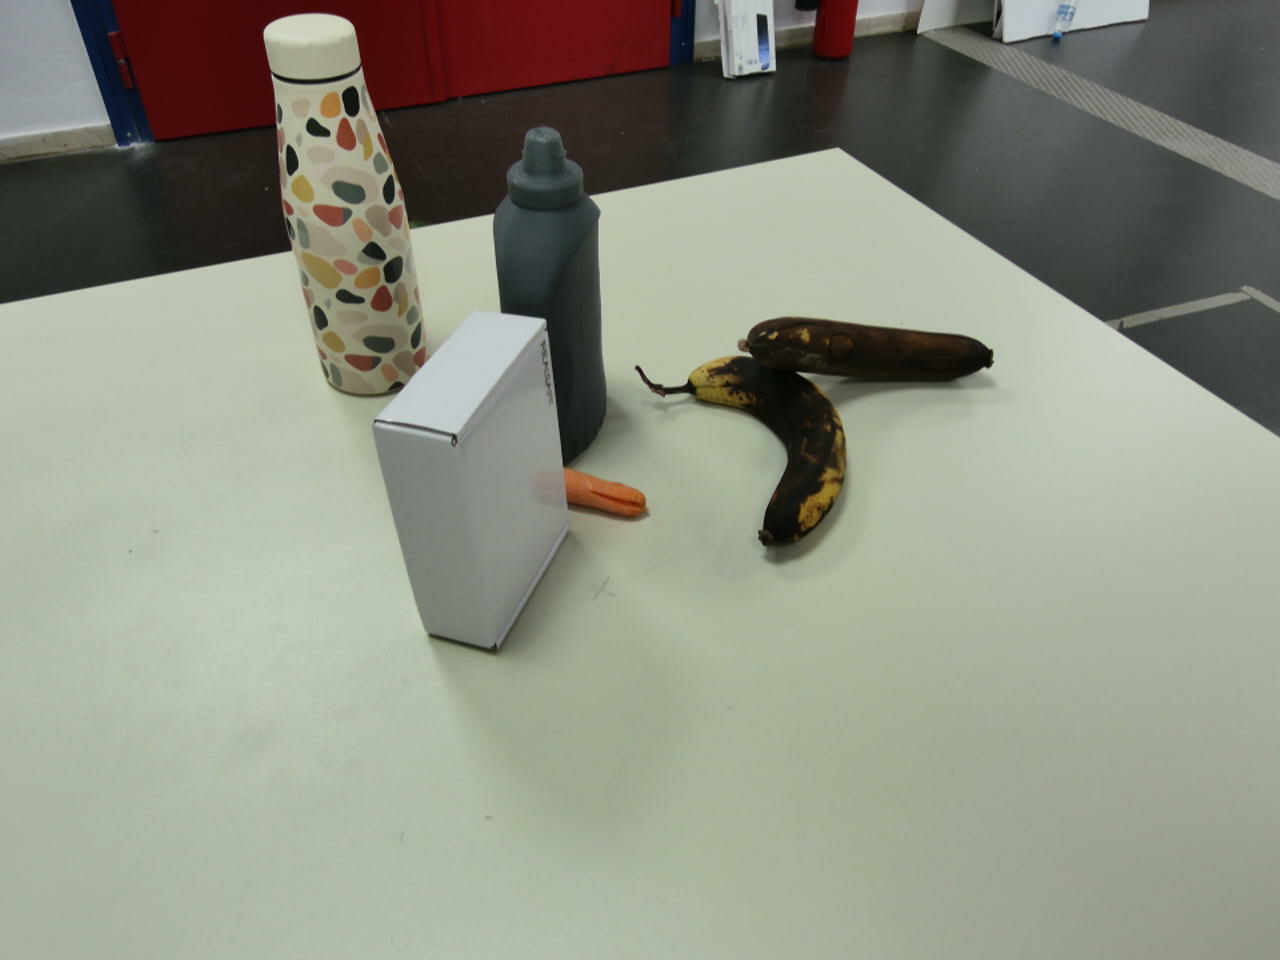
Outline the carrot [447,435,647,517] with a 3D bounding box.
[{"bbox_3d":[-0.060,-0.002,0.627,0.136,0.032,0.030,13,40,16],"label":"carrot"}]
